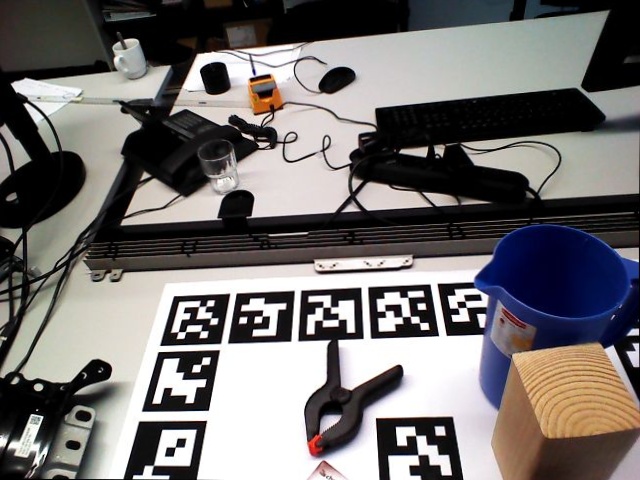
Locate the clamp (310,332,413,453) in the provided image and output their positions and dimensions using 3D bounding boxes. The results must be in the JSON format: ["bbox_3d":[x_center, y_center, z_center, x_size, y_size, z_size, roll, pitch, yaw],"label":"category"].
[{"bbox_3d":[0.038,0.211,0.700,0.122,0.037,0.164,23,54,22],"label":"clamp"}]

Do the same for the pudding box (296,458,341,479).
[{"bbox_3d":[0.008,0.321,0.586,0.114,0.039,0.089,26,58,34],"label":"pudding box"}]

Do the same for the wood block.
[{"bbox_3d":[0.248,0.199,0.531,0.090,0.207,0.090,-3,44,3],"label":"wood block"}]

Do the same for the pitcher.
[{"bbox_3d":[0.277,0.102,0.603,0.189,0.243,0.132,-6,42,10],"label":"pitcher"}]
